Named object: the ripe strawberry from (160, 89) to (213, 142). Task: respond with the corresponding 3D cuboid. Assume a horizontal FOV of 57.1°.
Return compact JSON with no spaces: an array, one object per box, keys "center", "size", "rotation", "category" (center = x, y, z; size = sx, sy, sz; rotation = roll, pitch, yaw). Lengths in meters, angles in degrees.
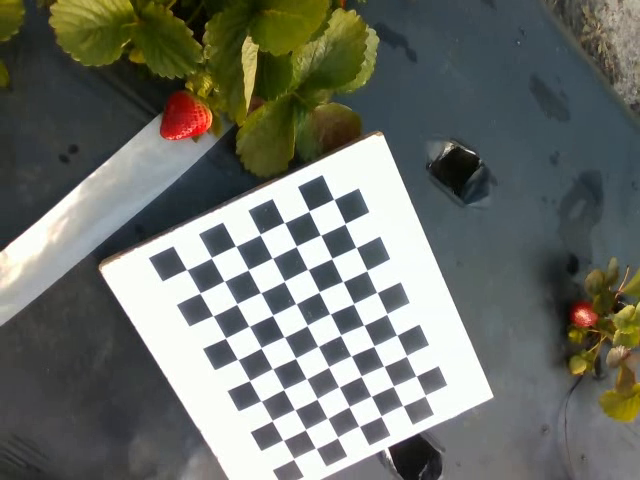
[{"center":[-0.105,-0.090,0.446],"size":[0.055,0.050,0.035],"rotation":[-38,23,-16],"category":"ripe strawberry"}]
